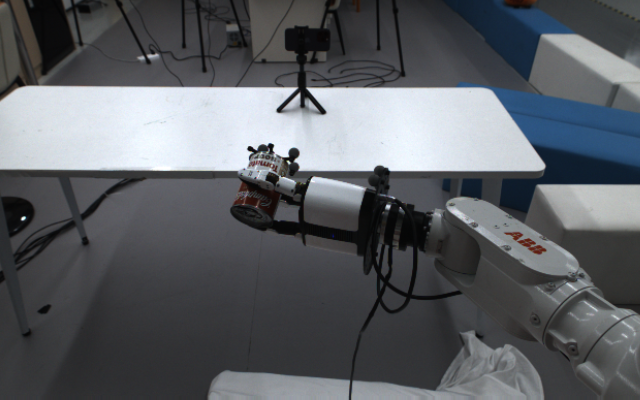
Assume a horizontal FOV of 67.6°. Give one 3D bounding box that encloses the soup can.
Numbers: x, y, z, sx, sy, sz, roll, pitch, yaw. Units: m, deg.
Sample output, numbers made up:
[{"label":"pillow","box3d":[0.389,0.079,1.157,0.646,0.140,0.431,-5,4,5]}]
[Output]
[{"label":"soup can","box3d":[-0.091,-0.016,0.754,0.067,0.067,0.101,9,60,10]}]
